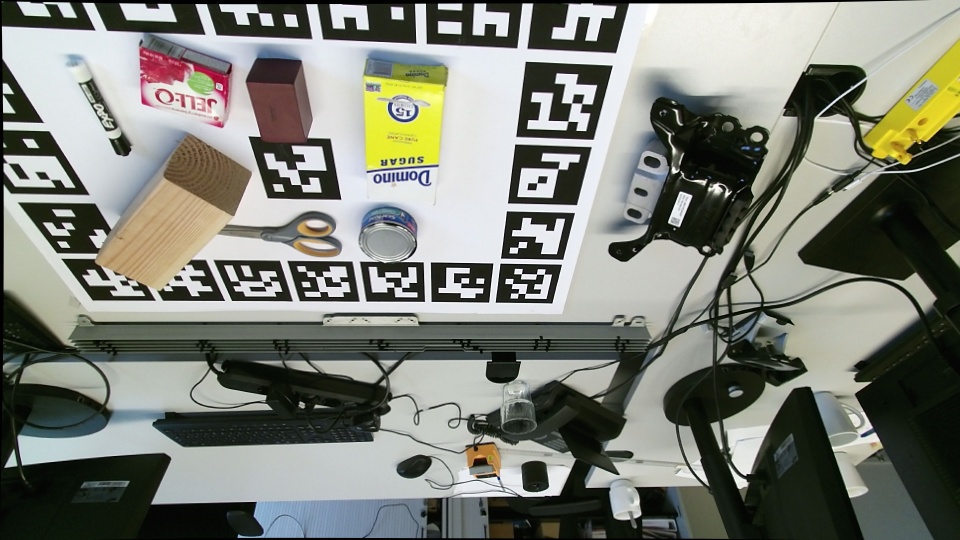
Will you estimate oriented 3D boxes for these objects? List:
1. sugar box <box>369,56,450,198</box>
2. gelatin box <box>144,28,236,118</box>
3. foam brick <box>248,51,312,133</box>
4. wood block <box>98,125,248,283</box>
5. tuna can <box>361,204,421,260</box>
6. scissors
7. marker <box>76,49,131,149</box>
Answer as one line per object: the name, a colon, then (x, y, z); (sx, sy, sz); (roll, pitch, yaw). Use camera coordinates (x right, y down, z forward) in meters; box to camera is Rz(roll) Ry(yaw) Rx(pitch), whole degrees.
sugar box: (-0.093, -0.174, 0.678); (0.093, 0.045, 0.176); (4, 135, -8)
gelatin box: (-0.334, -0.224, 0.617); (0.090, 0.030, 0.073); (14, 132, -19)
foam brick: (-0.230, -0.206, 0.623); (0.053, 0.051, 0.078); (2, 134, -7)
wood block: (-0.416, -0.082, 0.716); (0.206, 0.090, 0.090); (-33, 129, 27)
tuna can: (-0.131, -0.057, 0.796); (0.086, 0.033, 0.086); (-2, 135, -2)
scissors: (-0.306, -0.061, 0.795); (0.204, 0.016, 0.088); (5, 135, -12)
marker: (-0.446, -0.199, 0.638); (0.020, 0.019, 0.121); (2, 133, -6)
